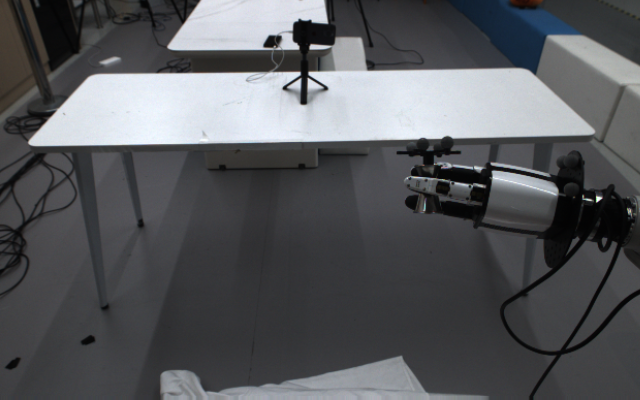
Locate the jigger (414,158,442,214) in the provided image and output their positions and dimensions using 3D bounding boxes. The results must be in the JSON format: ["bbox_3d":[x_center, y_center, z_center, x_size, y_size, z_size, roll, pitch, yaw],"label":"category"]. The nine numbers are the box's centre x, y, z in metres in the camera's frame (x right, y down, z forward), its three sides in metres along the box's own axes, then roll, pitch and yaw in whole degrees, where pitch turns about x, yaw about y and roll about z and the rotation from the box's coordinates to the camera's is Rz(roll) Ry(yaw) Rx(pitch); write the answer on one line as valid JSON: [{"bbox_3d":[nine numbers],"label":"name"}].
[{"bbox_3d":[0.153,-0.017,0.689,0.043,0.071,0.043,-1,2,0],"label":"jigger"}]
